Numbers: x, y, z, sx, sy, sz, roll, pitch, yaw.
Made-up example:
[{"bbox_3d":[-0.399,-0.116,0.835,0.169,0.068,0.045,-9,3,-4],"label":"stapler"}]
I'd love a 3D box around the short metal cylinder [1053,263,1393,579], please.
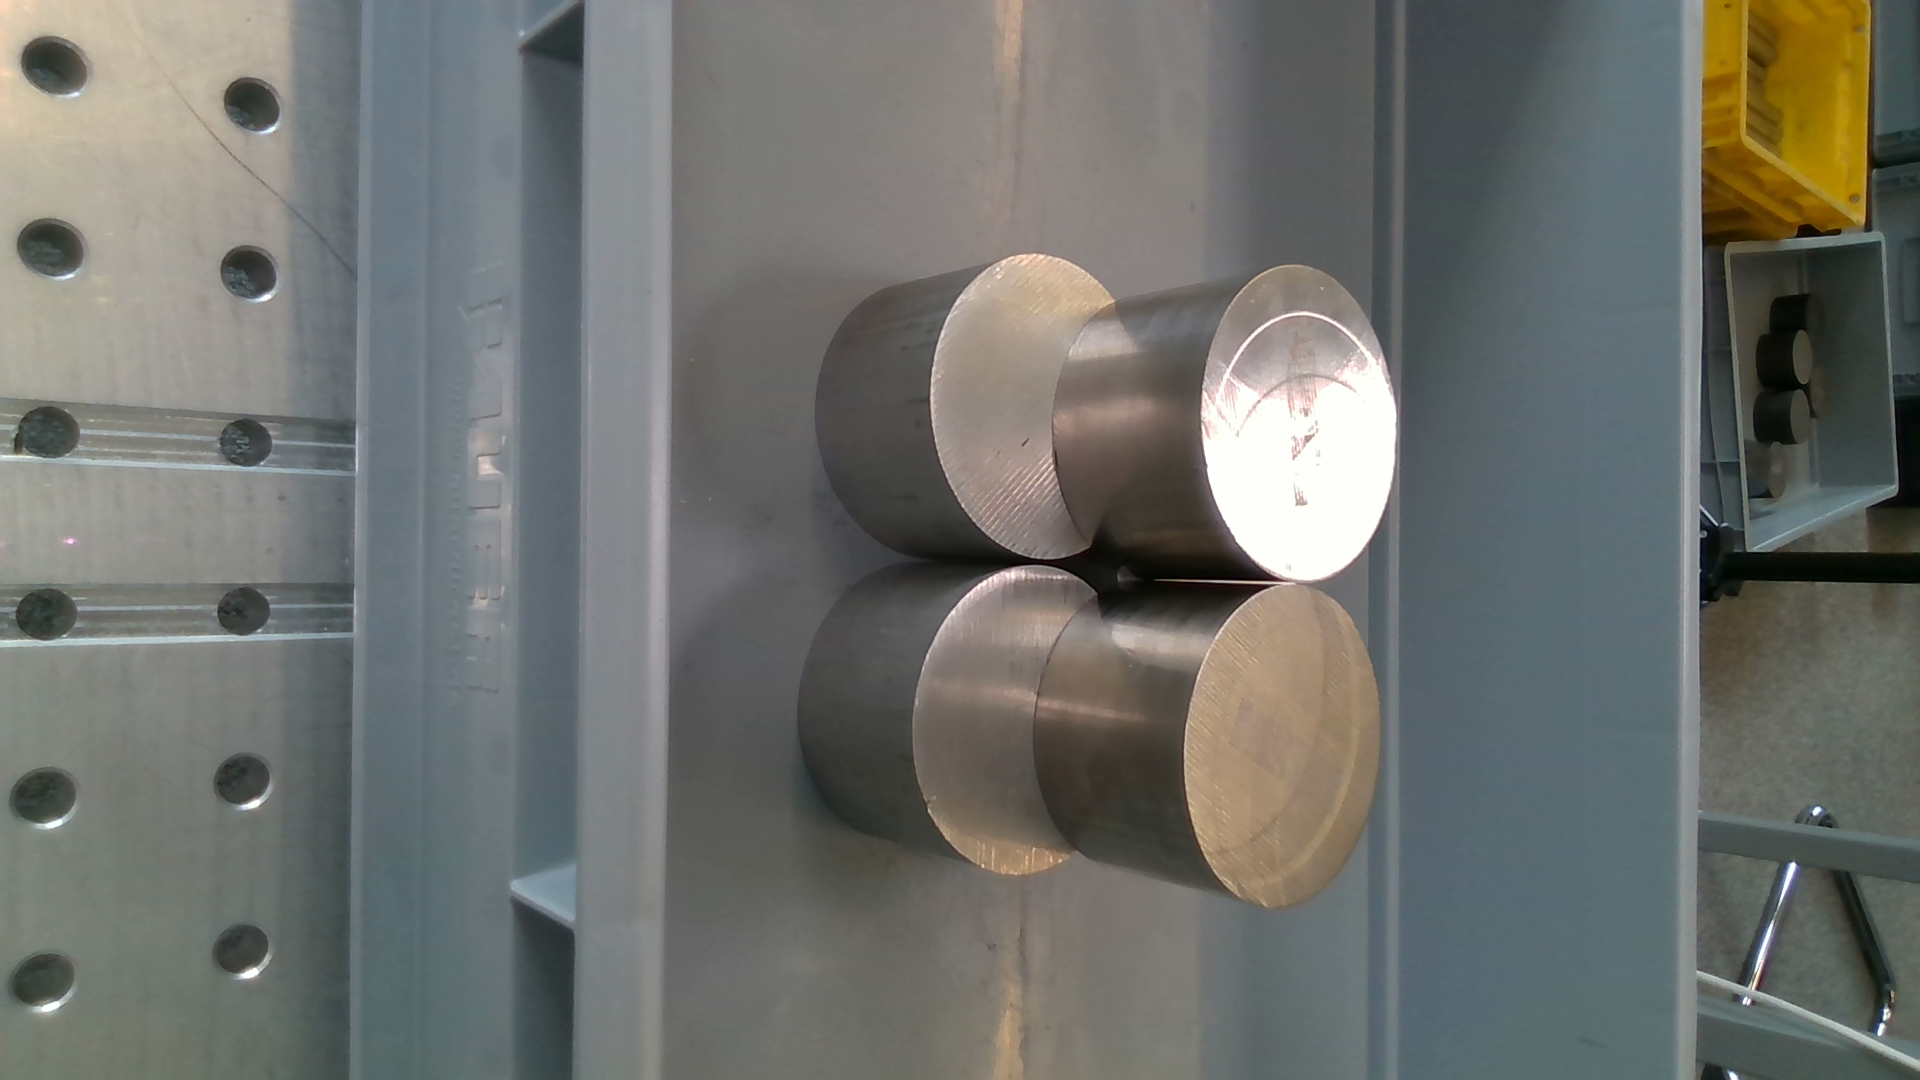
[{"bbox_3d":[0.071,-0.030,0.368,0.080,0.050,0.080,0,90,-40],"label":"short metal cylinder"}]

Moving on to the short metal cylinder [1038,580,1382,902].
[{"bbox_3d":[0.067,0.050,0.364,0.080,0.050,0.080,0,90,-40],"label":"short metal cylinder"}]

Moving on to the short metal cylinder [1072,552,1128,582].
[{"bbox_3d":[0.058,0.009,0.423,0.080,0.050,0.080,0,90,-40],"label":"short metal cylinder"}]

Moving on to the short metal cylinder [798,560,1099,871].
[{"bbox_3d":[0.003,0.046,0.376,0.080,0.050,0.080,0,90,-40],"label":"short metal cylinder"}]

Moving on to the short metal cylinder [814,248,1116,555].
[{"bbox_3d":[0.007,-0.036,0.379,0.080,0.050,0.080,0,90,-40],"label":"short metal cylinder"}]
